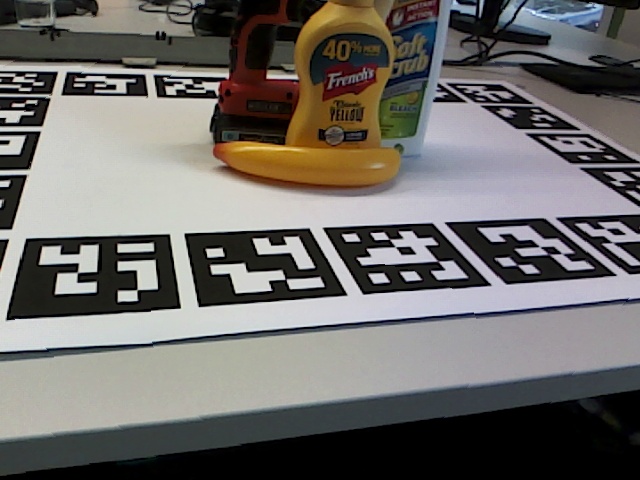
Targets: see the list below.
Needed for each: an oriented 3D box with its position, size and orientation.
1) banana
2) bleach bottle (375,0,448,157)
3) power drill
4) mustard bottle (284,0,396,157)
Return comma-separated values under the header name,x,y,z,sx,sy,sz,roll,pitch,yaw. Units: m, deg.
name,x,y,z,sx,sy,sz,roll,pitch,yaw
banana,0.000,-0.072,0.606,0.197,0.039,0.074,-1,34,-10
bleach bottle,0.078,-0.214,0.645,0.102,0.250,0.068,-1,27,-13
power drill,-0.032,-0.214,0.628,0.184,0.187,0.057,6,30,-6
mustard bottle,0.022,-0.161,0.591,0.096,0.191,0.059,-1,33,-16
